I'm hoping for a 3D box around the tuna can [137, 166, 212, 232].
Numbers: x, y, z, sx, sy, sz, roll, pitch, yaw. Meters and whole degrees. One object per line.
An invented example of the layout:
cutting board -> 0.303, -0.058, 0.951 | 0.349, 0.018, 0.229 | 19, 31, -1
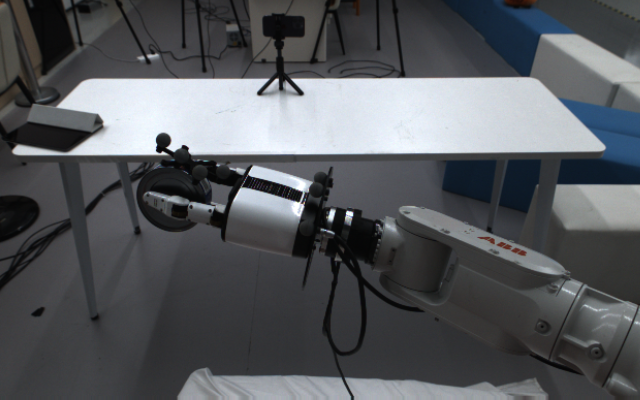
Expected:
tuna can -> -0.180, -0.004, 0.604 | 0.085, 0.085, 0.034 | 4, 19, 3
